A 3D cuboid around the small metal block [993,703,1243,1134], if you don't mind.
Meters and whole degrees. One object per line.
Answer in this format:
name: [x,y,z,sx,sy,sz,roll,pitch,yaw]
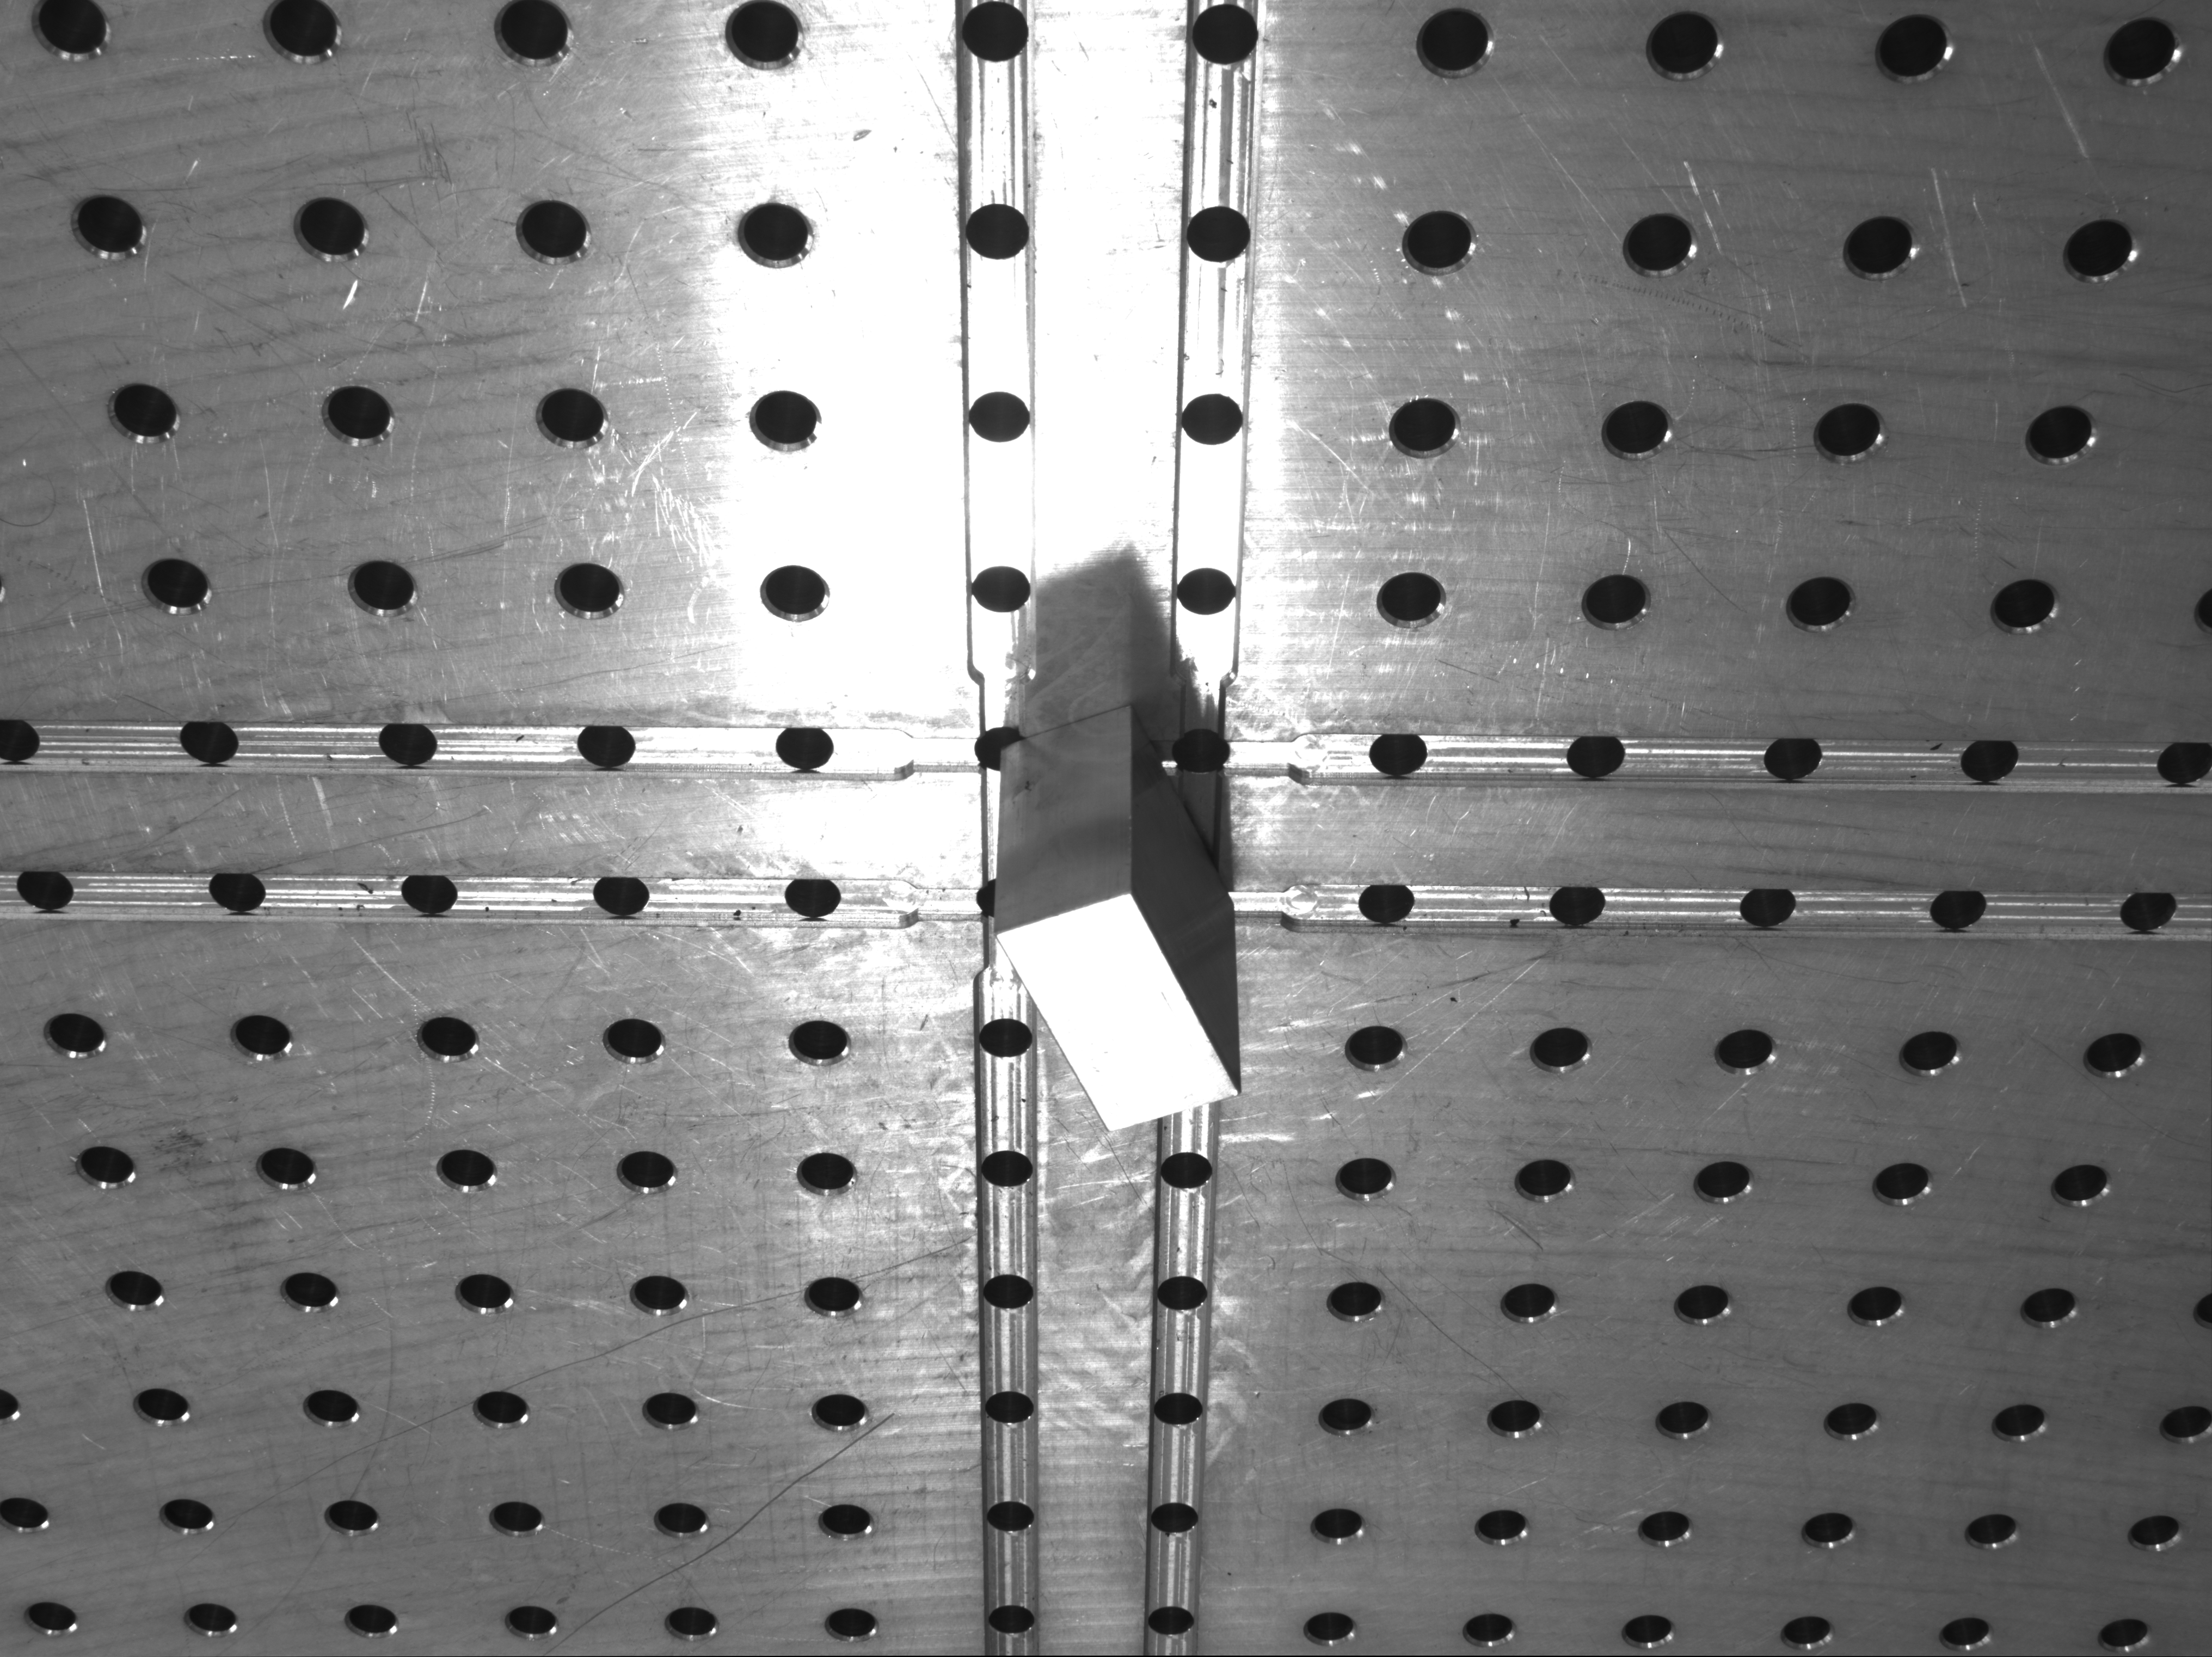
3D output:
small metal block: [0.002,0.016,0.639,0.025,0.050,0.050,-18,128,14]
